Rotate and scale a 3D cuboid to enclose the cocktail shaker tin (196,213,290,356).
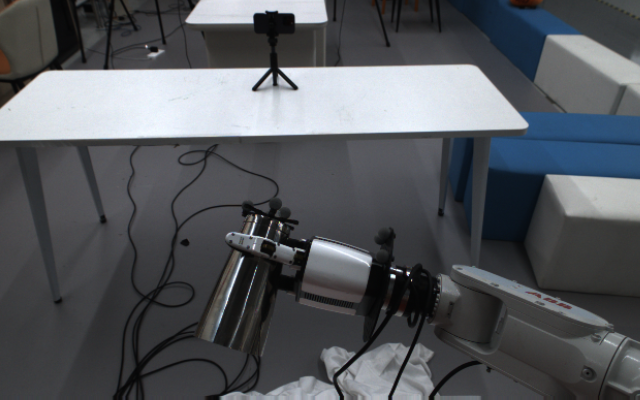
[{"bbox_3d":[-0.096,0.108,0.647,0.093,0.093,0.170,13,72,15],"label":"cocktail shaker tin"}]
